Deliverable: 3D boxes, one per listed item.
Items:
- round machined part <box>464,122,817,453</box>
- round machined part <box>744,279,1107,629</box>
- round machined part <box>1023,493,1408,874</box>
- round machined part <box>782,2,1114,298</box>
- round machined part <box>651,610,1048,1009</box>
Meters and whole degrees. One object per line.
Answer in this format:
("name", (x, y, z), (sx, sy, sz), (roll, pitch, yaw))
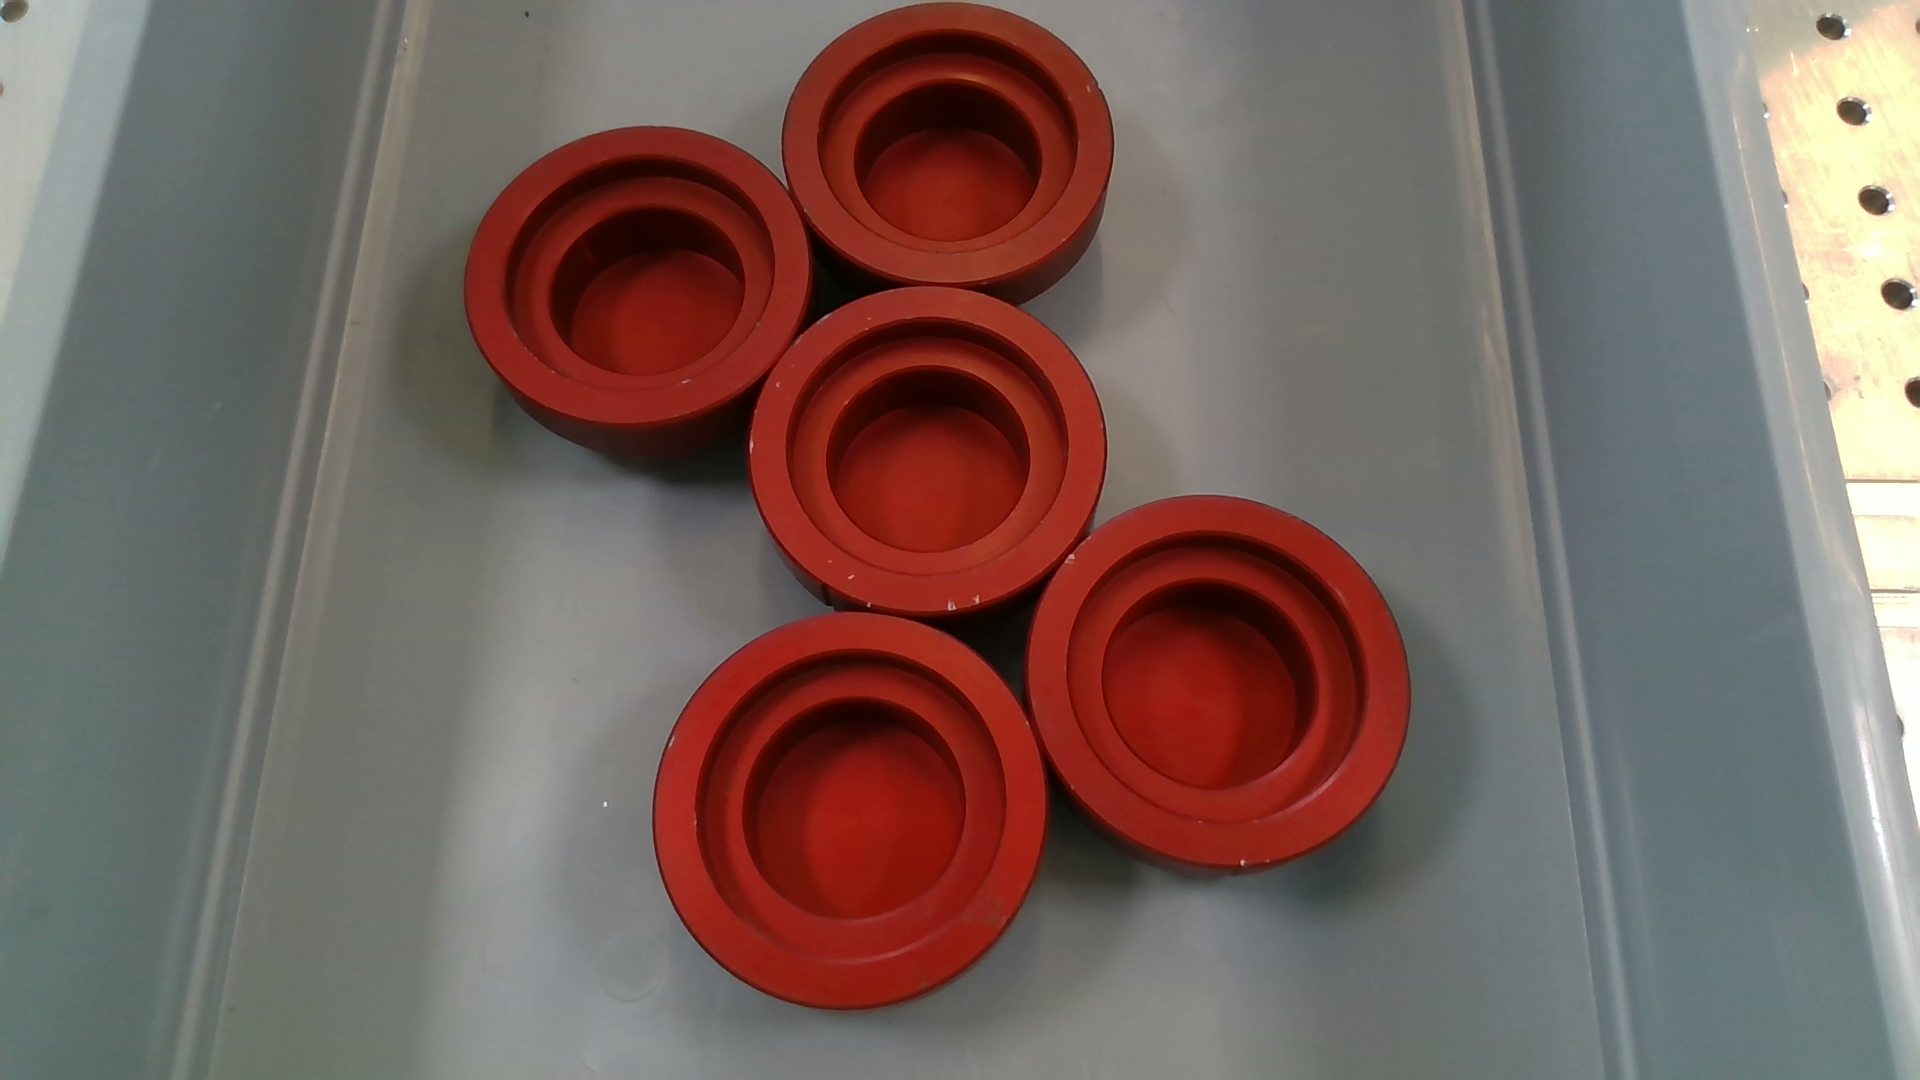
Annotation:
("round machined part", (-0.091, -0.071, 0.409), (0.098, 0.042, 0.098), (0, 70, 0))
("round machined part", (-0.009, -0.021, 0.391), (0.098, 0.042, 0.098), (0, 70, 0))
("round machined part", (0.065, 0.040, 0.370), (0.098, 0.042, 0.098), (0, 70, 0))
("round machined part", (-0.004, -0.112, 0.424), (0.098, 0.042, 0.098), (0, 70, 0))
("round machined part", (-0.027, 0.071, 0.359), (0.098, 0.042, 0.098), (0, 70, 0))
